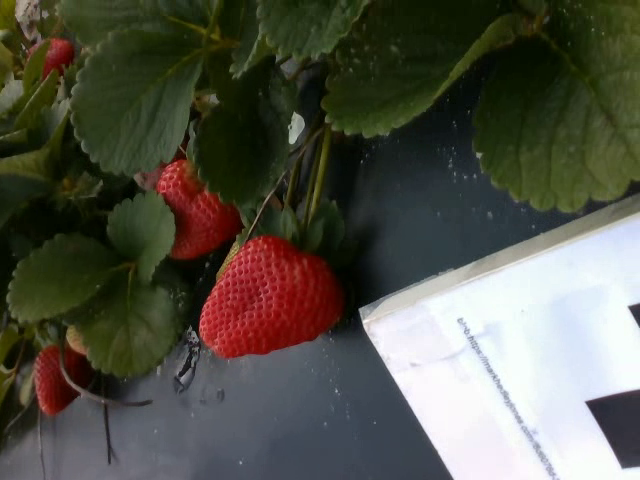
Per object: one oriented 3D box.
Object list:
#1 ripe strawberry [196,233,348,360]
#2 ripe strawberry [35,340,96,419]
[{"bbox_3d":[-0.026,0.029,0.250,0.056,0.057,0.065,25,49,19],"label":"ripe strawberry"},{"bbox_3d":[-0.168,0.087,0.377,0.041,0.052,0.044,14,-45,-25],"label":"ripe strawberry"}]
